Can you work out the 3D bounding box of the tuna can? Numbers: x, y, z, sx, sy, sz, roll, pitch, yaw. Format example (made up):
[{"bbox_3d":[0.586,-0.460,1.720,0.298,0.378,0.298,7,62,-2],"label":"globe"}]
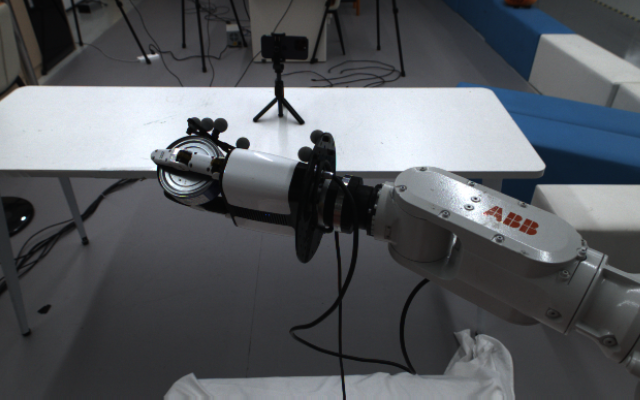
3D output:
[{"bbox_3d":[-0.160,-0.038,0.617,0.085,0.034,0.085,-4,67,10],"label":"tuna can"}]
